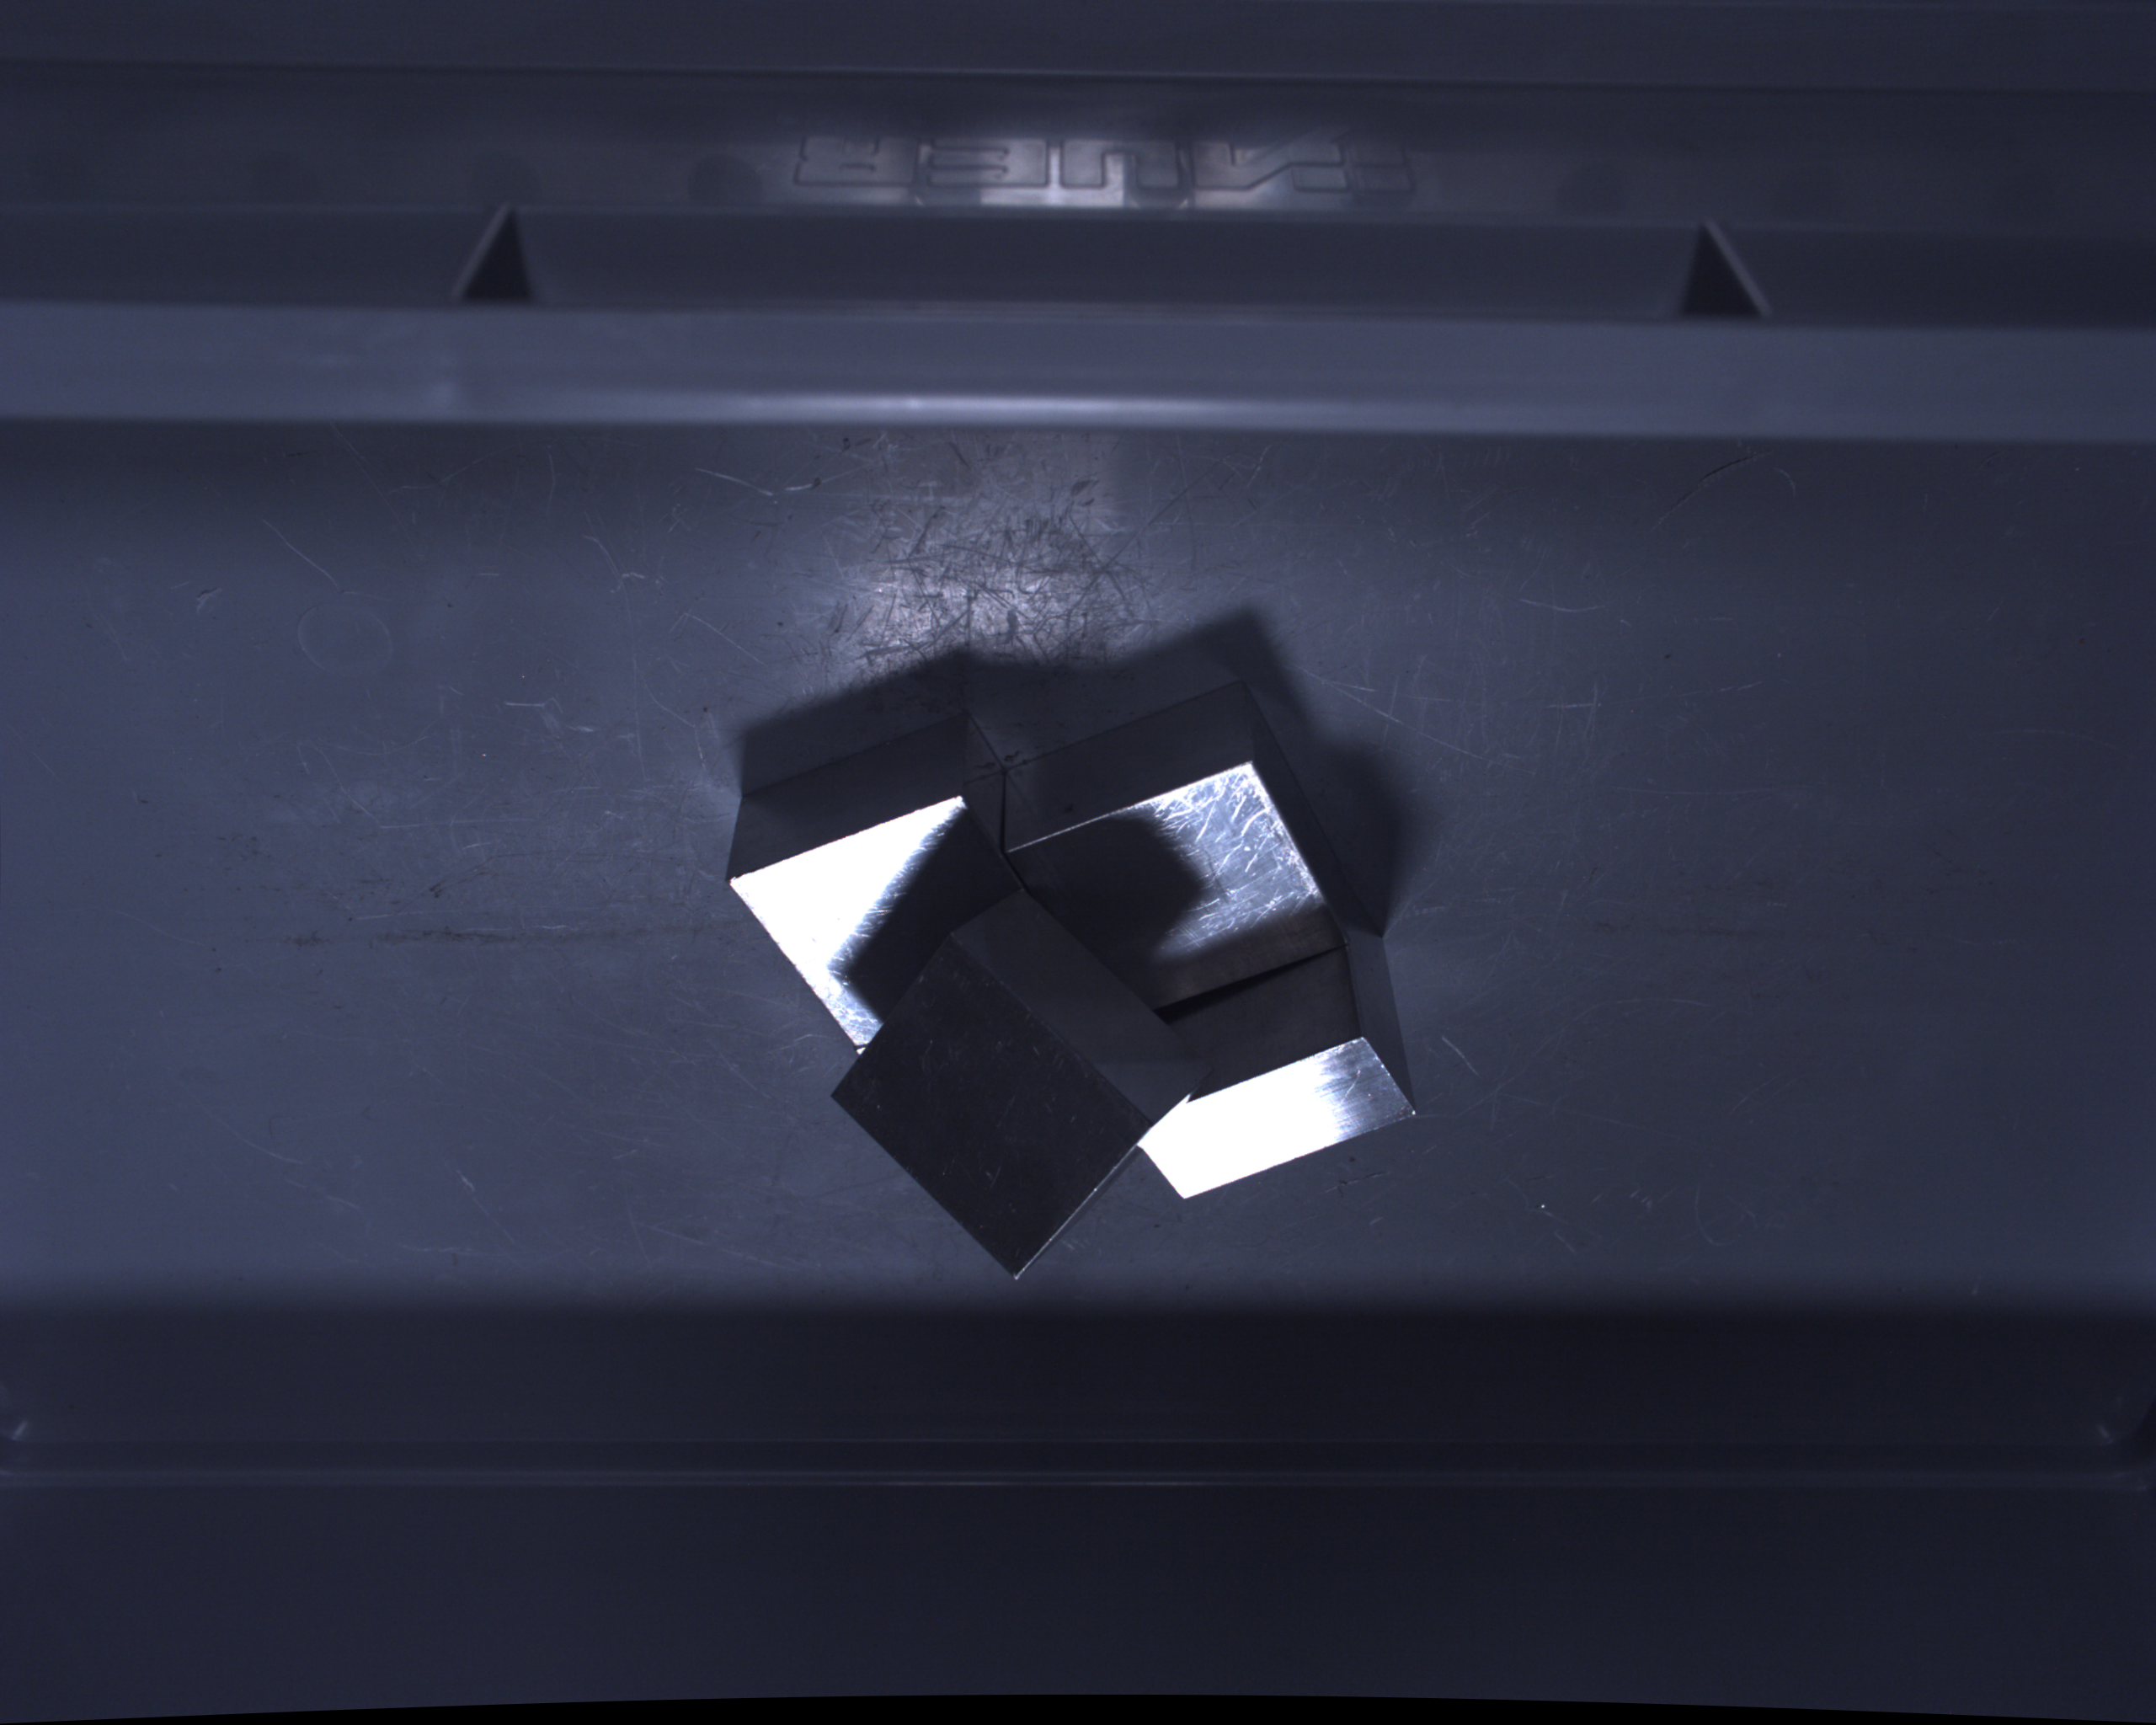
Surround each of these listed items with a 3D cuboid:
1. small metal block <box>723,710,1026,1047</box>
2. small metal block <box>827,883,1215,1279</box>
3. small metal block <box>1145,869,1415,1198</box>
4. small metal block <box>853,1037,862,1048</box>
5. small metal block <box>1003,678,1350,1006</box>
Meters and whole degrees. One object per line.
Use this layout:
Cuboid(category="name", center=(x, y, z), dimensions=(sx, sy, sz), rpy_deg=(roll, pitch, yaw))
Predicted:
Cuboid(category="small metal block", center=(-0.033, 0.004, 0.410), dimensions=(0.050, 0.025, 0.050), rpy_deg=(-20, 128, 15))
Cuboid(category="small metal block", center=(-0.011, 0.041, 0.393), dimensions=(0.050, 0.025, 0.050), rpy_deg=(43, 124, 9))
Cuboid(category="small metal block", center=(0.036, 0.033, 0.419), dimensions=(0.050, 0.050, 0.025), rpy_deg=(-23, 127, 17))
Cuboid(category="small metal block", center=(-0.012, 0.039, 0.440), dimensions=(0.050, 0.025, 0.050), rpy_deg=(-20, 128, 15))
Cuboid(category="small metal block", center=(0.019, -0.002, 0.406), dimensions=(0.050, 0.025, 0.050), rpy_deg=(-20, 128, 15))
